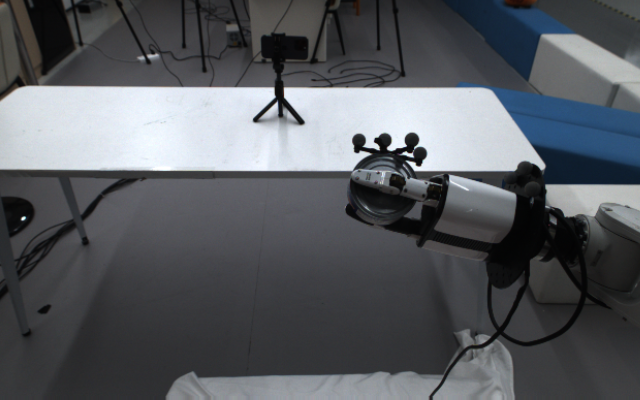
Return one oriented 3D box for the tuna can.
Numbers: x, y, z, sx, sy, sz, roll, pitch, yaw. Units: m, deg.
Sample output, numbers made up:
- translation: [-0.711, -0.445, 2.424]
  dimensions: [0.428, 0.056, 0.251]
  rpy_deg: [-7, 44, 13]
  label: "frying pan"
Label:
- translation: [0.078, -0.016, 0.601]
  dimensions: [0.085, 0.034, 0.085]
  rpy_deg: [1, 72, -3]
  label: "tuna can"
